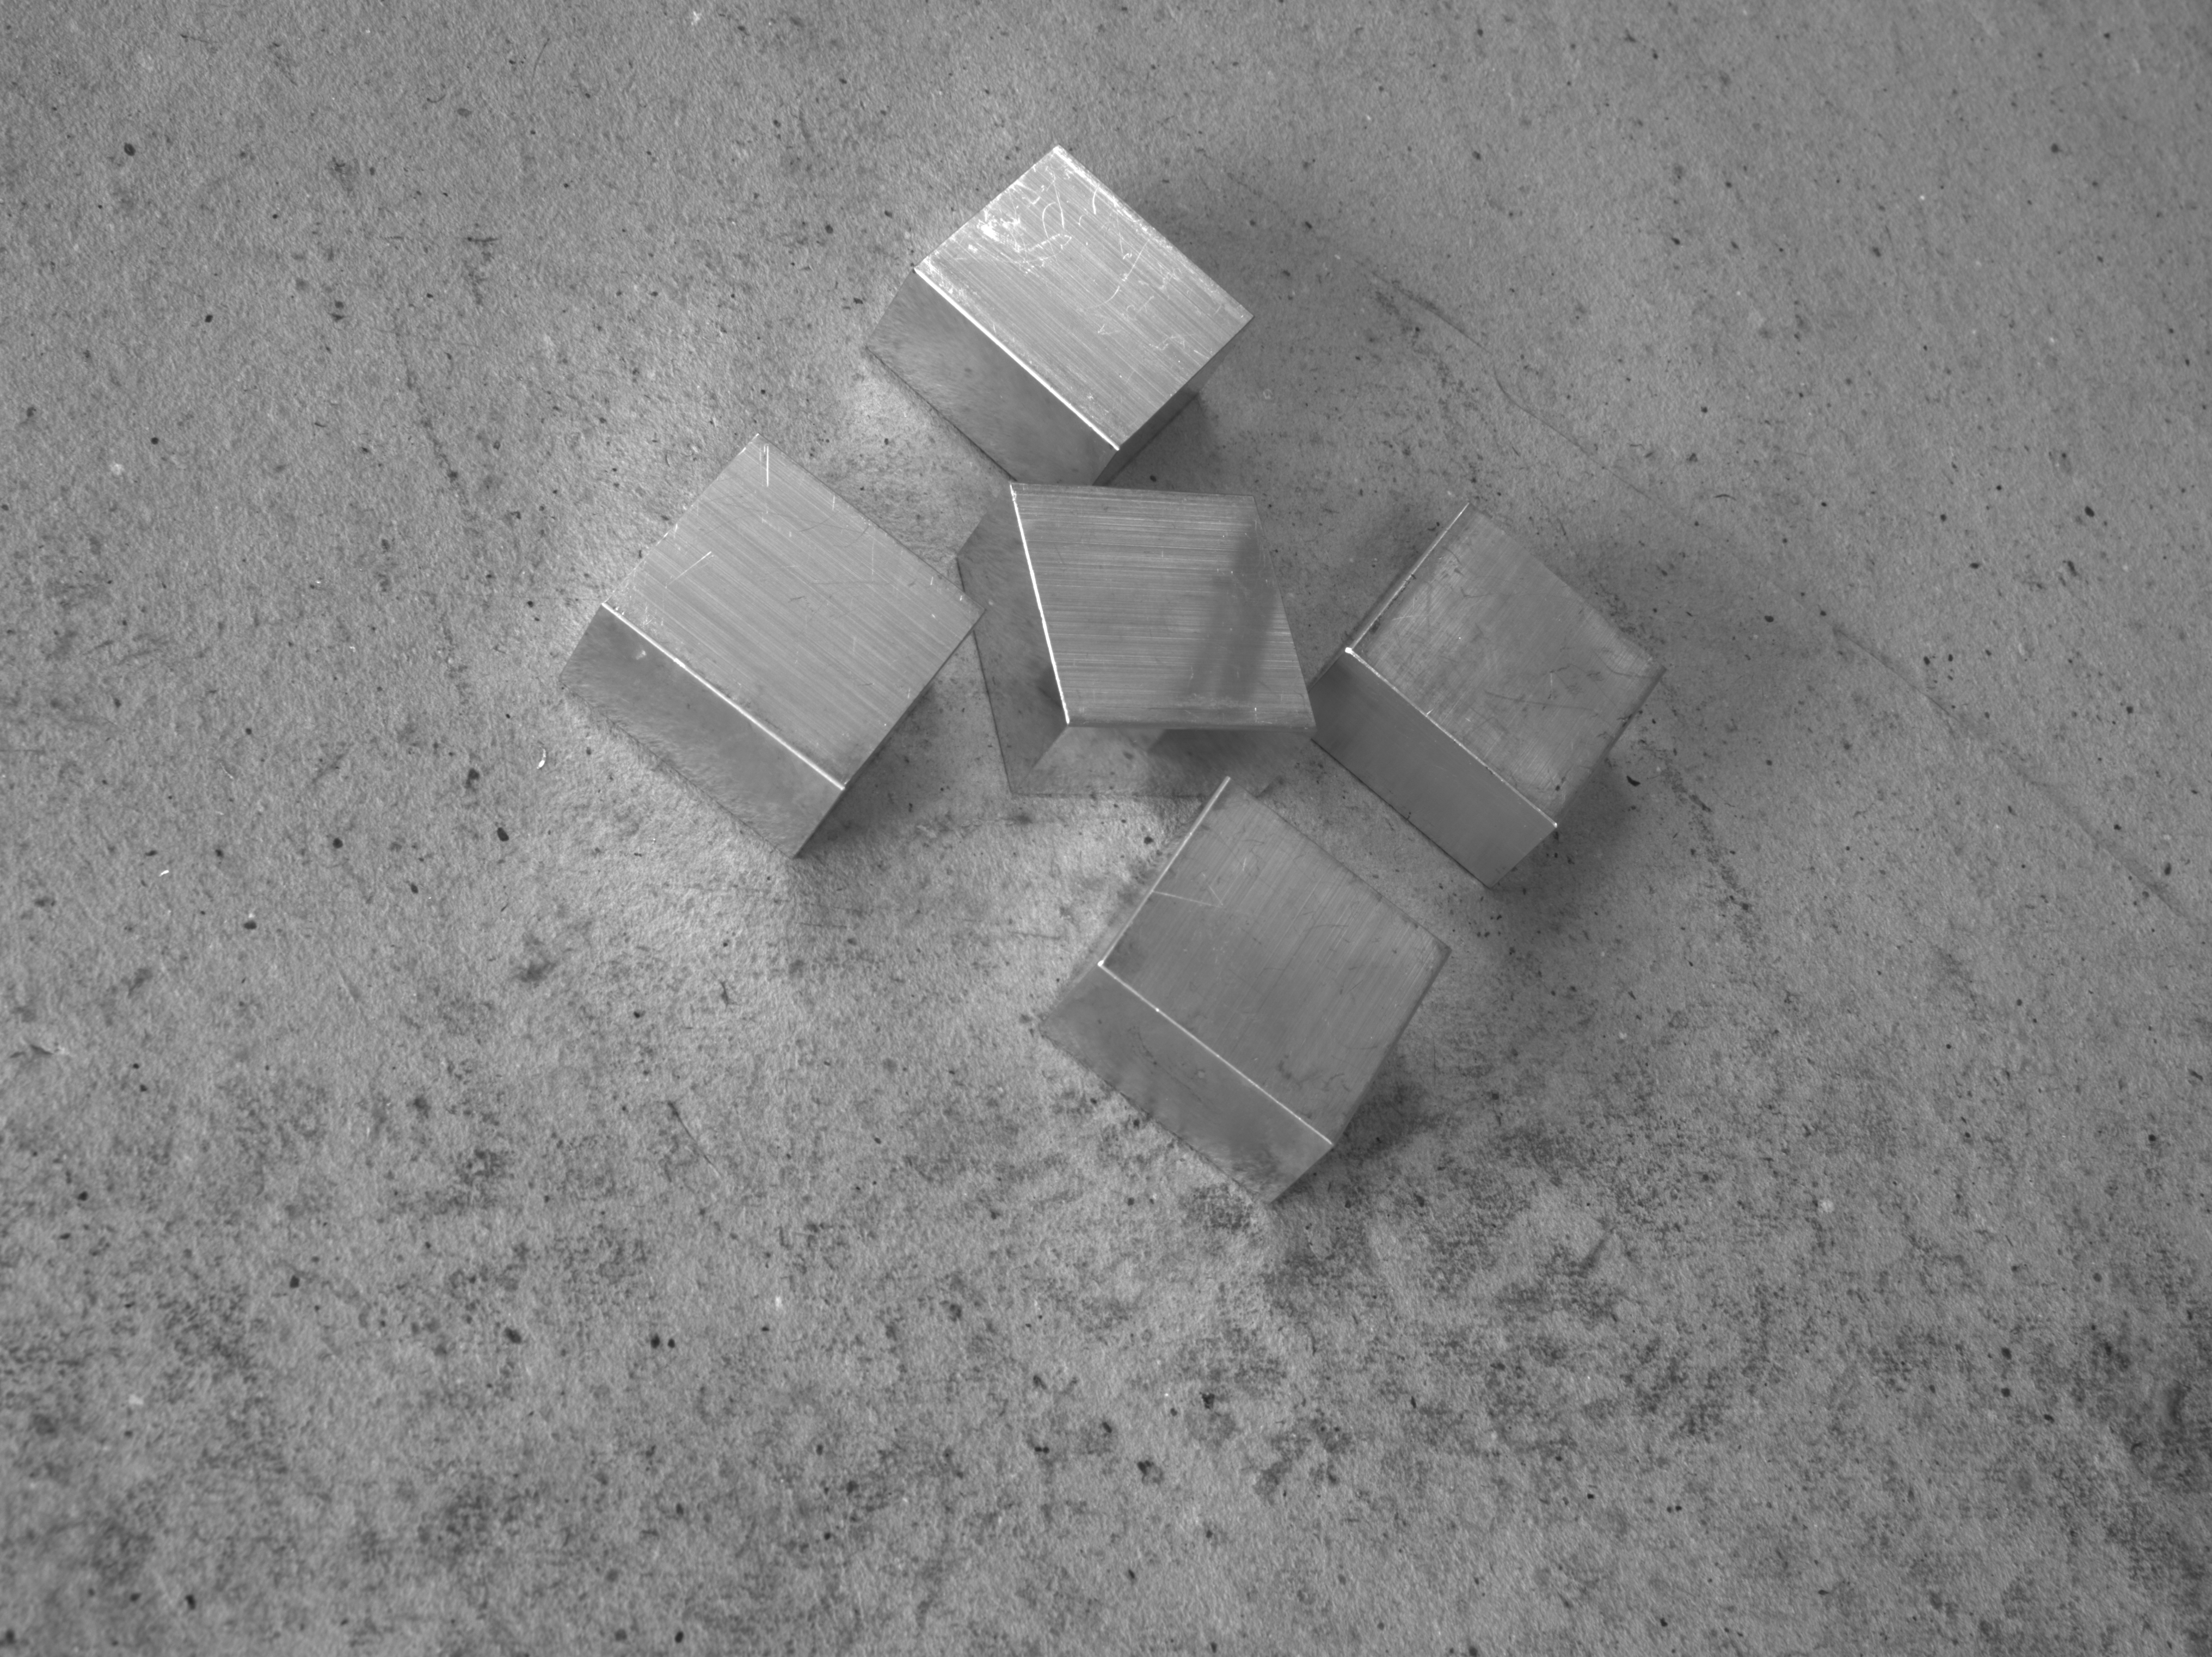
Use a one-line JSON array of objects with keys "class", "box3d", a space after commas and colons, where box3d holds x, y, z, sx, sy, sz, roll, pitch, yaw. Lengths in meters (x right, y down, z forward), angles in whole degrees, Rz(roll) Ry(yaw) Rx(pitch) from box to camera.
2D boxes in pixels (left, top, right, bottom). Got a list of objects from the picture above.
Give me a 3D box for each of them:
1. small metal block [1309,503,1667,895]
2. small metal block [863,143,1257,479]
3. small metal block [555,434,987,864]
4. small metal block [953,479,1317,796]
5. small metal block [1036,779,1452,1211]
[{"class": "small metal block", "box3d": [0.070, -0.025, 0.693, 0.050, 0.025, 0.050, 40, 51, -1]}, {"class": "small metal block", "box3d": [-0.008, -0.093, 0.692, 0.050, 0.025, 0.050, 41, 50, 1]}, {"class": "small metal block", "box3d": [-0.057, -0.031, 0.629, 0.050, 0.025, 0.050, 38, 50, -3]}, {"class": "small metal block", "box3d": [0.005, -0.034, 0.663, 0.050, 0.025, 0.050, 0, 62, -27]}, {"class": "small metal block", "box3d": [0.024, 0.028, 0.636, 0.050, 0.025, 0.050, 38, 50, -3]}]
